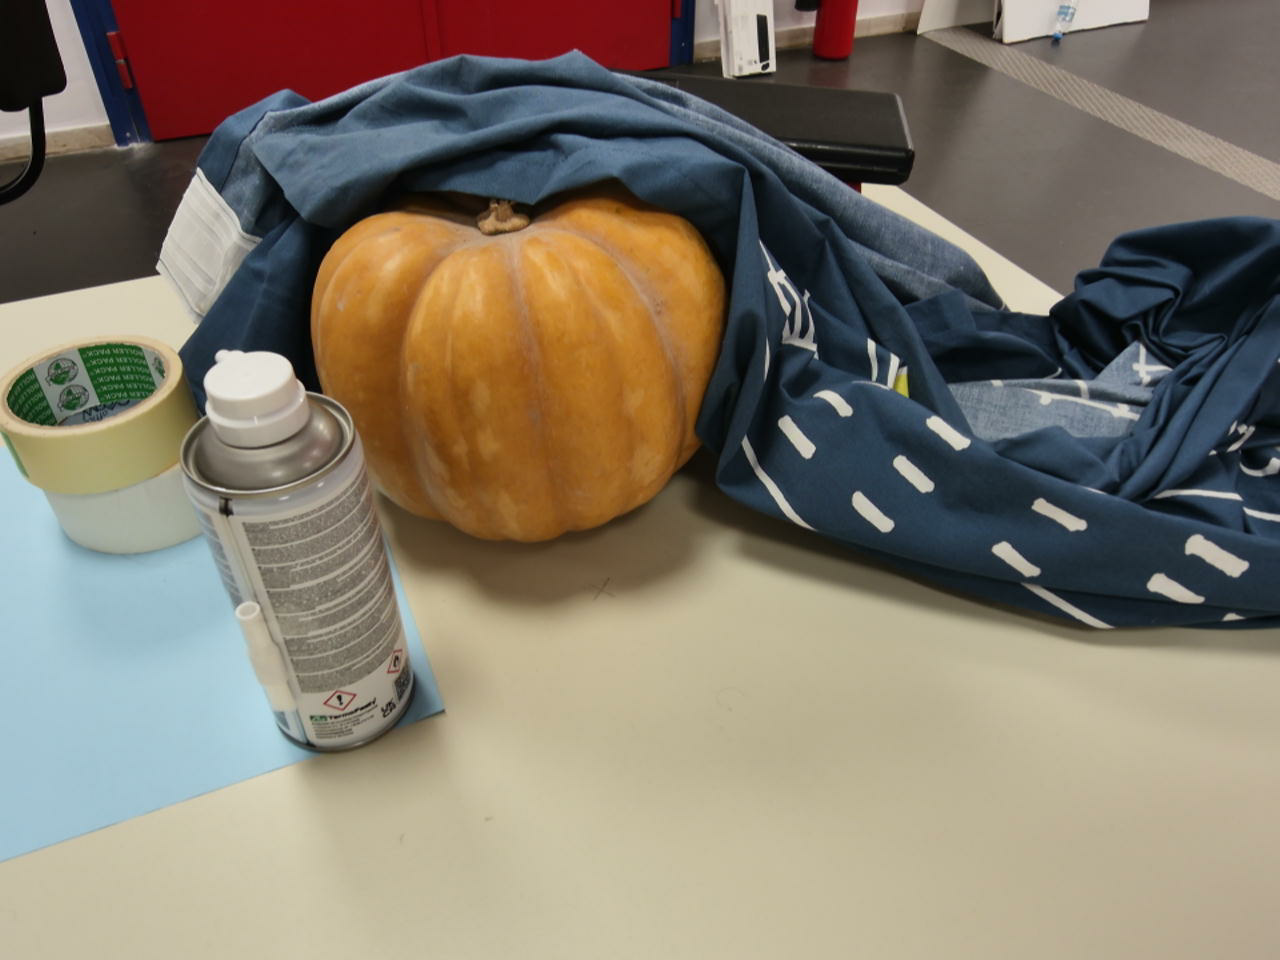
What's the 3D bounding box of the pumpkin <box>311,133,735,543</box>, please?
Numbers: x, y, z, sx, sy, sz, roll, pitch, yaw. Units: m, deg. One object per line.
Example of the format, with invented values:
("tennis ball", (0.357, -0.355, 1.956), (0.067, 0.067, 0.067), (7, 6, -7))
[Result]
("pumpkin", (-0.058, -0.075, 0.543), (0.230, 0.194, 0.230), (0, 39, 0))
